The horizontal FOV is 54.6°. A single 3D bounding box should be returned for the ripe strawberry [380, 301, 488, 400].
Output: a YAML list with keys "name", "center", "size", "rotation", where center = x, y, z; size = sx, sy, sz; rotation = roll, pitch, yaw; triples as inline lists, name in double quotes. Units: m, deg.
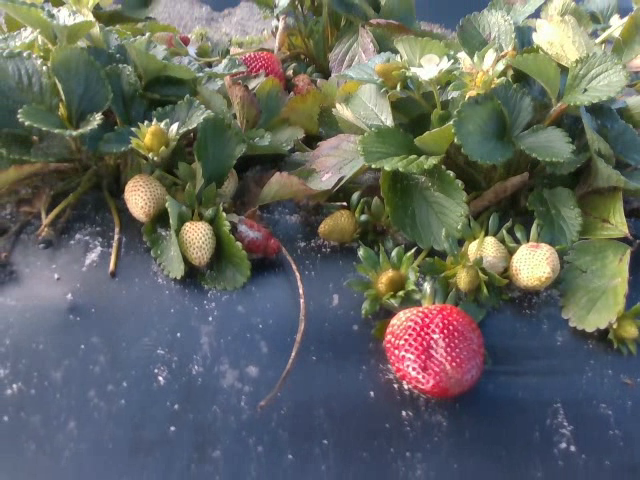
- name: "ripe strawberry"
  center: [0.059, 0.058, 0.315]
  size: [0.052, 0.045, 0.068]
  rotation: [6, 23, 0]
